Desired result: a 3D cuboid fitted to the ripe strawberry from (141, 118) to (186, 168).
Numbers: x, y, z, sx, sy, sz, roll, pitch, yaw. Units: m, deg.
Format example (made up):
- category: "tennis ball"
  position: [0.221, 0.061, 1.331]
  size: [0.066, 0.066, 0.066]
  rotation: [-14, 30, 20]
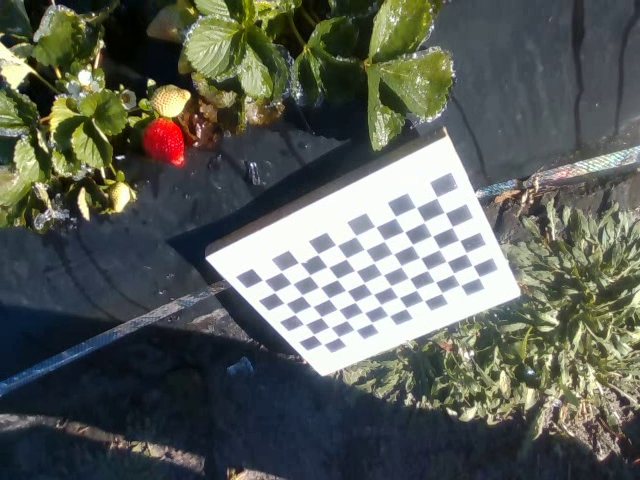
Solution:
- category: "ripe strawberry"
  position: [-0.131, -0.080, 0.525]
  size: [0.042, 0.040, 0.053]
  rotation: [-4, 44, -42]
